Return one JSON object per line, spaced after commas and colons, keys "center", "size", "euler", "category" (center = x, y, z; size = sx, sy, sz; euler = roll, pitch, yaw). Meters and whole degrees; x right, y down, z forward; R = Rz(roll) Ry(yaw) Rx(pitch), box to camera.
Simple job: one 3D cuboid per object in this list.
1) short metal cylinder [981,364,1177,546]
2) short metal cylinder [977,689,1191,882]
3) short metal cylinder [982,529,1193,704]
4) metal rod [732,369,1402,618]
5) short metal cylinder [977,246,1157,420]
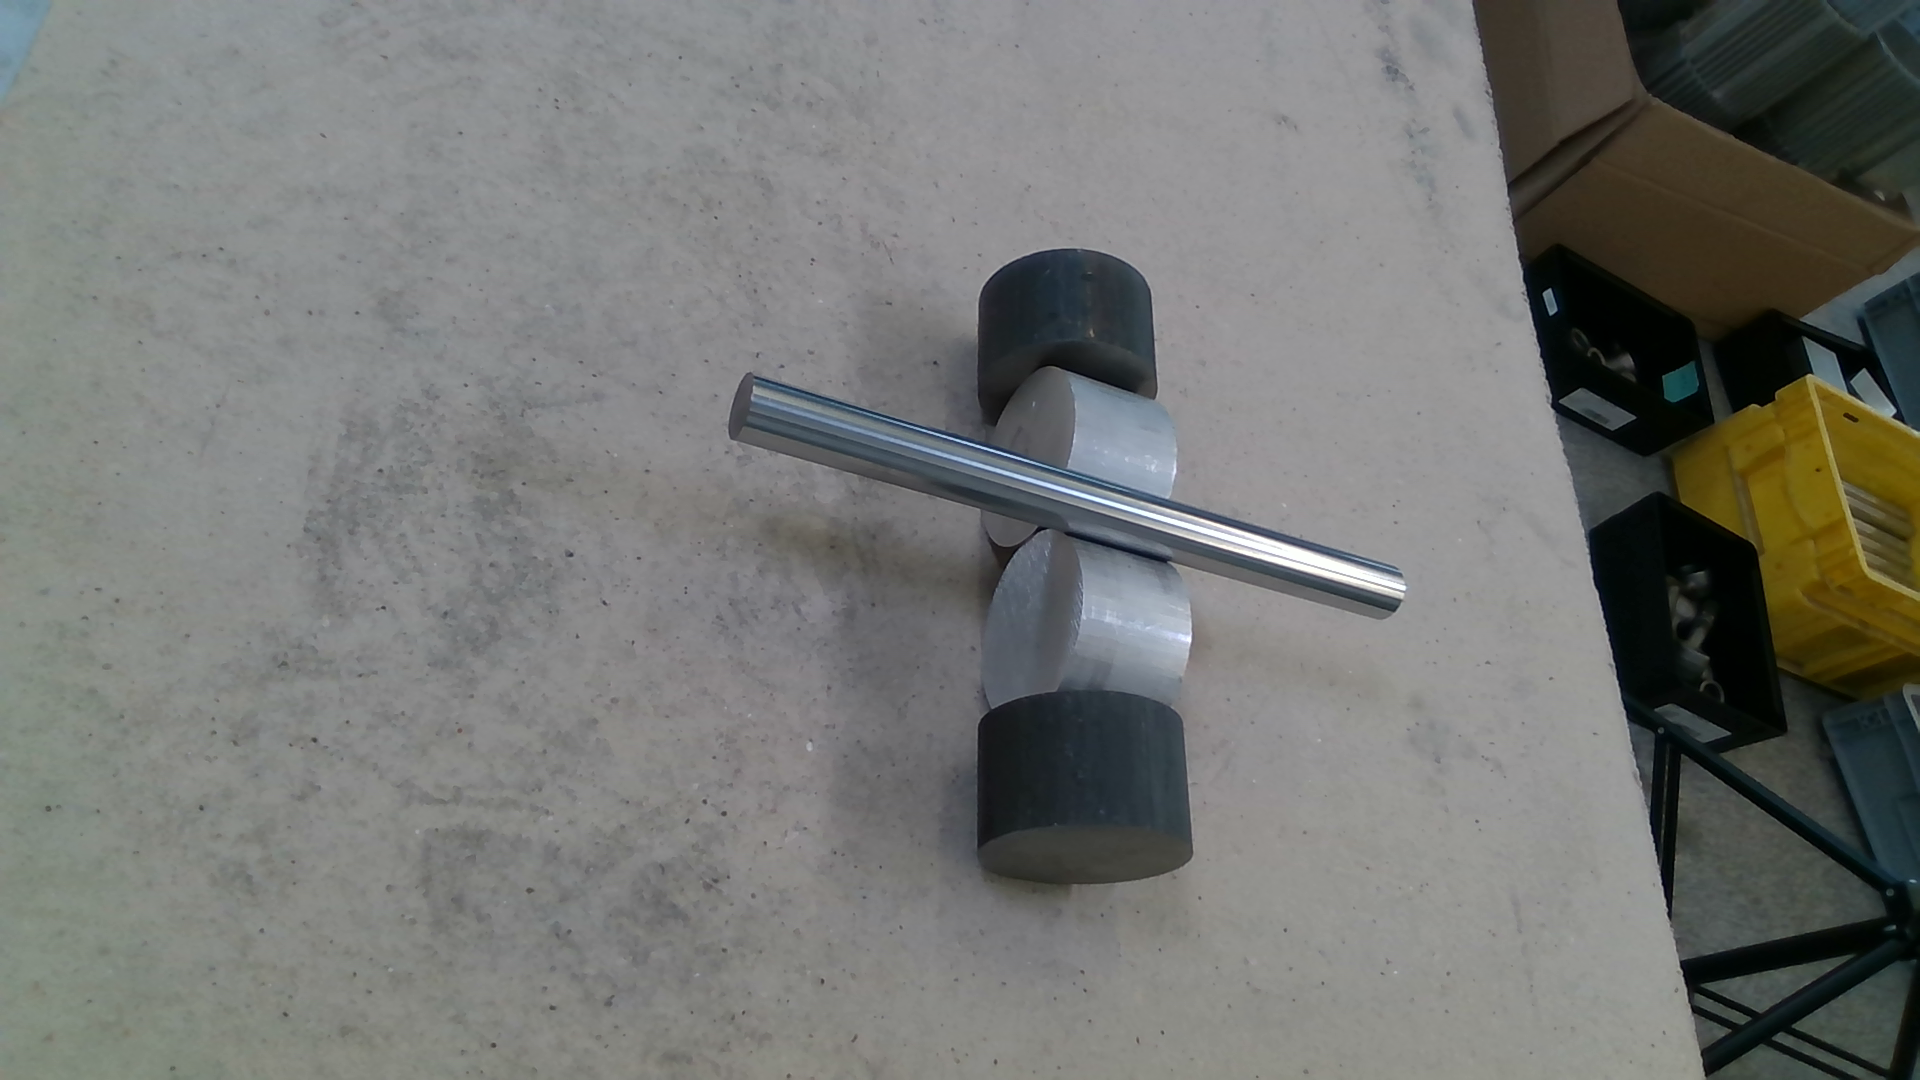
{"center": [0.050, -0.031, 0.598], "size": [0.050, 0.080, 0.080], "euler": [15, 58, -24], "category": "short metal cylinder"}
{"center": [0.046, 0.096, 0.528], "size": [0.080, 0.080, 0.050], "euler": [15, 58, -24], "category": "short metal cylinder"}
{"center": [0.050, 0.039, 0.561], "size": [0.050, 0.080, 0.080], "euler": [15, 58, -24], "category": "short metal cylinder"}
{"center": [0.055, -0.013, 0.548], "size": [0.300, 0.025, 0.025], "euler": [15, 58, -25], "category": "metal rod"}
{"center": [0.048, -0.088, 0.628], "size": [0.080, 0.080, 0.050], "euler": [15, 58, -24], "category": "short metal cylinder"}
